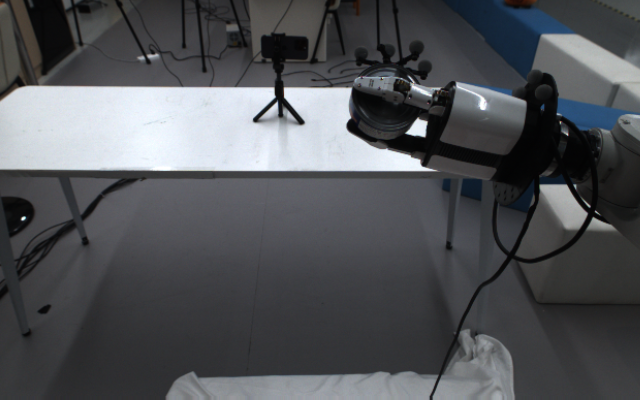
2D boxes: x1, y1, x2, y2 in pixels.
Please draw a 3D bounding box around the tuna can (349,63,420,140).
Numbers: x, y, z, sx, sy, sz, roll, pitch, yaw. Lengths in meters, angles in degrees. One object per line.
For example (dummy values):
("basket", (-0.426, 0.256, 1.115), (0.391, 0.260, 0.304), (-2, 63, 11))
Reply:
("tuna can", (0.078, -0.120, 0.577), (0.085, 0.034, 0.085), (1, 74, -4))
